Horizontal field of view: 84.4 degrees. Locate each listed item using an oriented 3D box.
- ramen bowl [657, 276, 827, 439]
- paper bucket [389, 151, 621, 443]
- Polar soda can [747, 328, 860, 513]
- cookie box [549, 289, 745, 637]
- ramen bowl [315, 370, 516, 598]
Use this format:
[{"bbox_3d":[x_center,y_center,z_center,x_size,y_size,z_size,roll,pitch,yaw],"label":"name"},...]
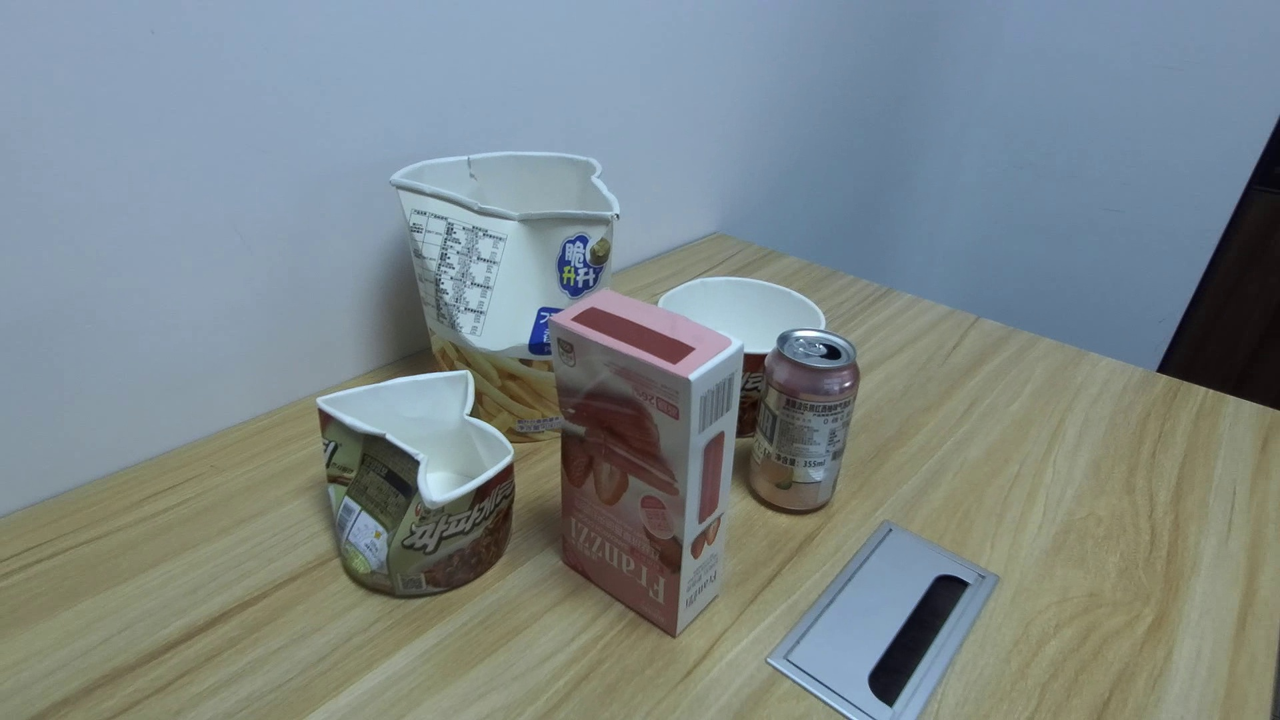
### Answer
[{"bbox_3d":[0.082,-0.001,0.601,0.140,0.095,0.140,3,30,-1],"label":"ramen bowl"},{"bbox_3d":[-0.109,-0.053,0.589,0.163,0.202,0.168,-4,27,-10],"label":"paper bucket"},{"bbox_3d":[0.117,0.044,0.509,0.067,0.125,0.067,2,29,-1],"label":"Polar soda can"},{"bbox_3d":[-0.003,0.059,0.408,0.104,0.187,0.049,24,38,32],"label":"cookie box"},{"bbox_3d":[-0.139,0.083,0.455,0.112,0.093,0.127,-13,35,-25],"label":"ramen bowl"}]
